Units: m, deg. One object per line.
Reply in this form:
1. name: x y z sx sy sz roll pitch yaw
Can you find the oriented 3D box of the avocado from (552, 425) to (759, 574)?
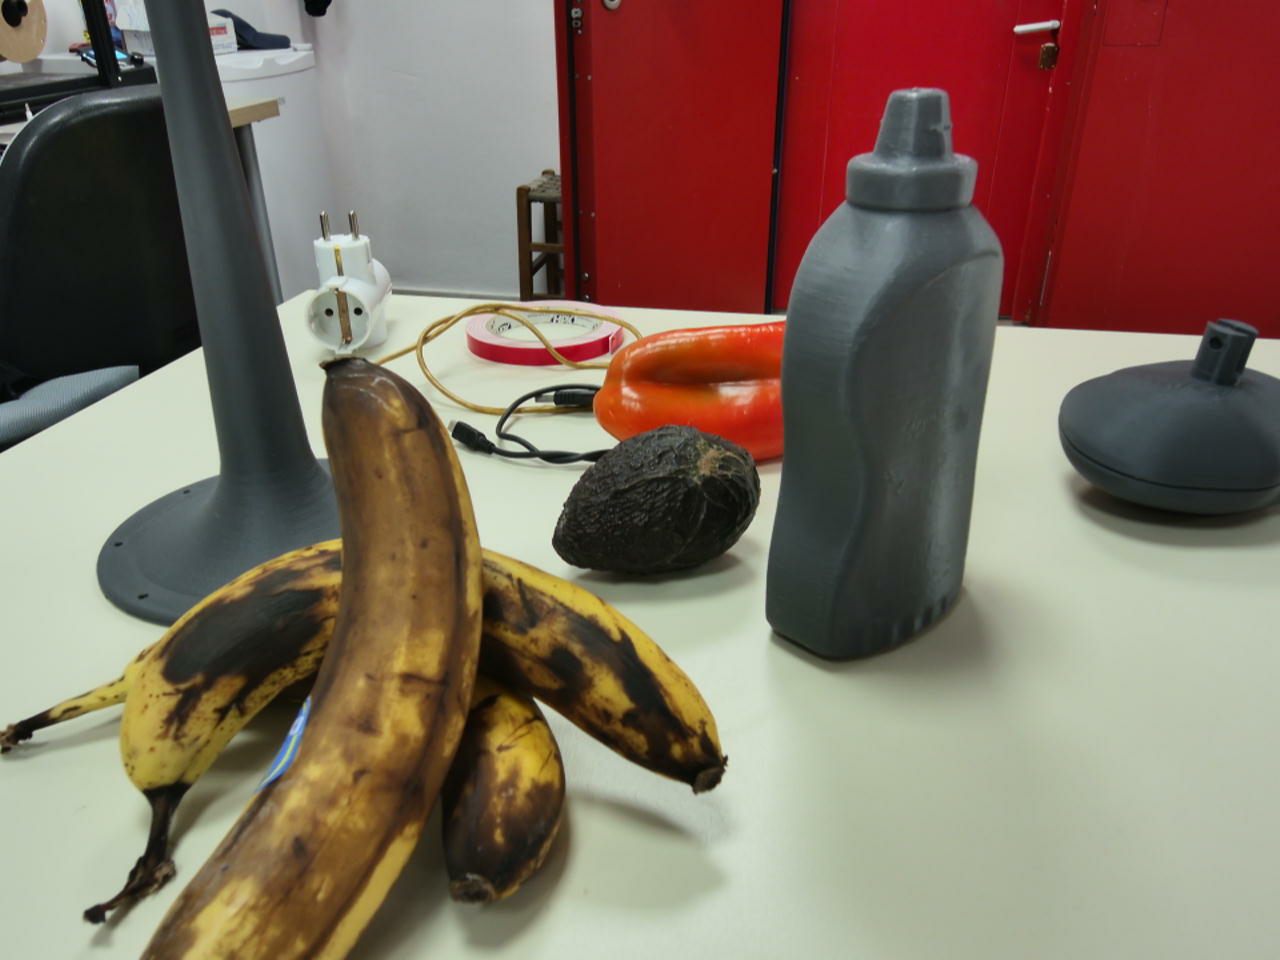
1. avocado: 0.007 0.009 0.430 0.092 0.062 0.062 -5 25 -10
